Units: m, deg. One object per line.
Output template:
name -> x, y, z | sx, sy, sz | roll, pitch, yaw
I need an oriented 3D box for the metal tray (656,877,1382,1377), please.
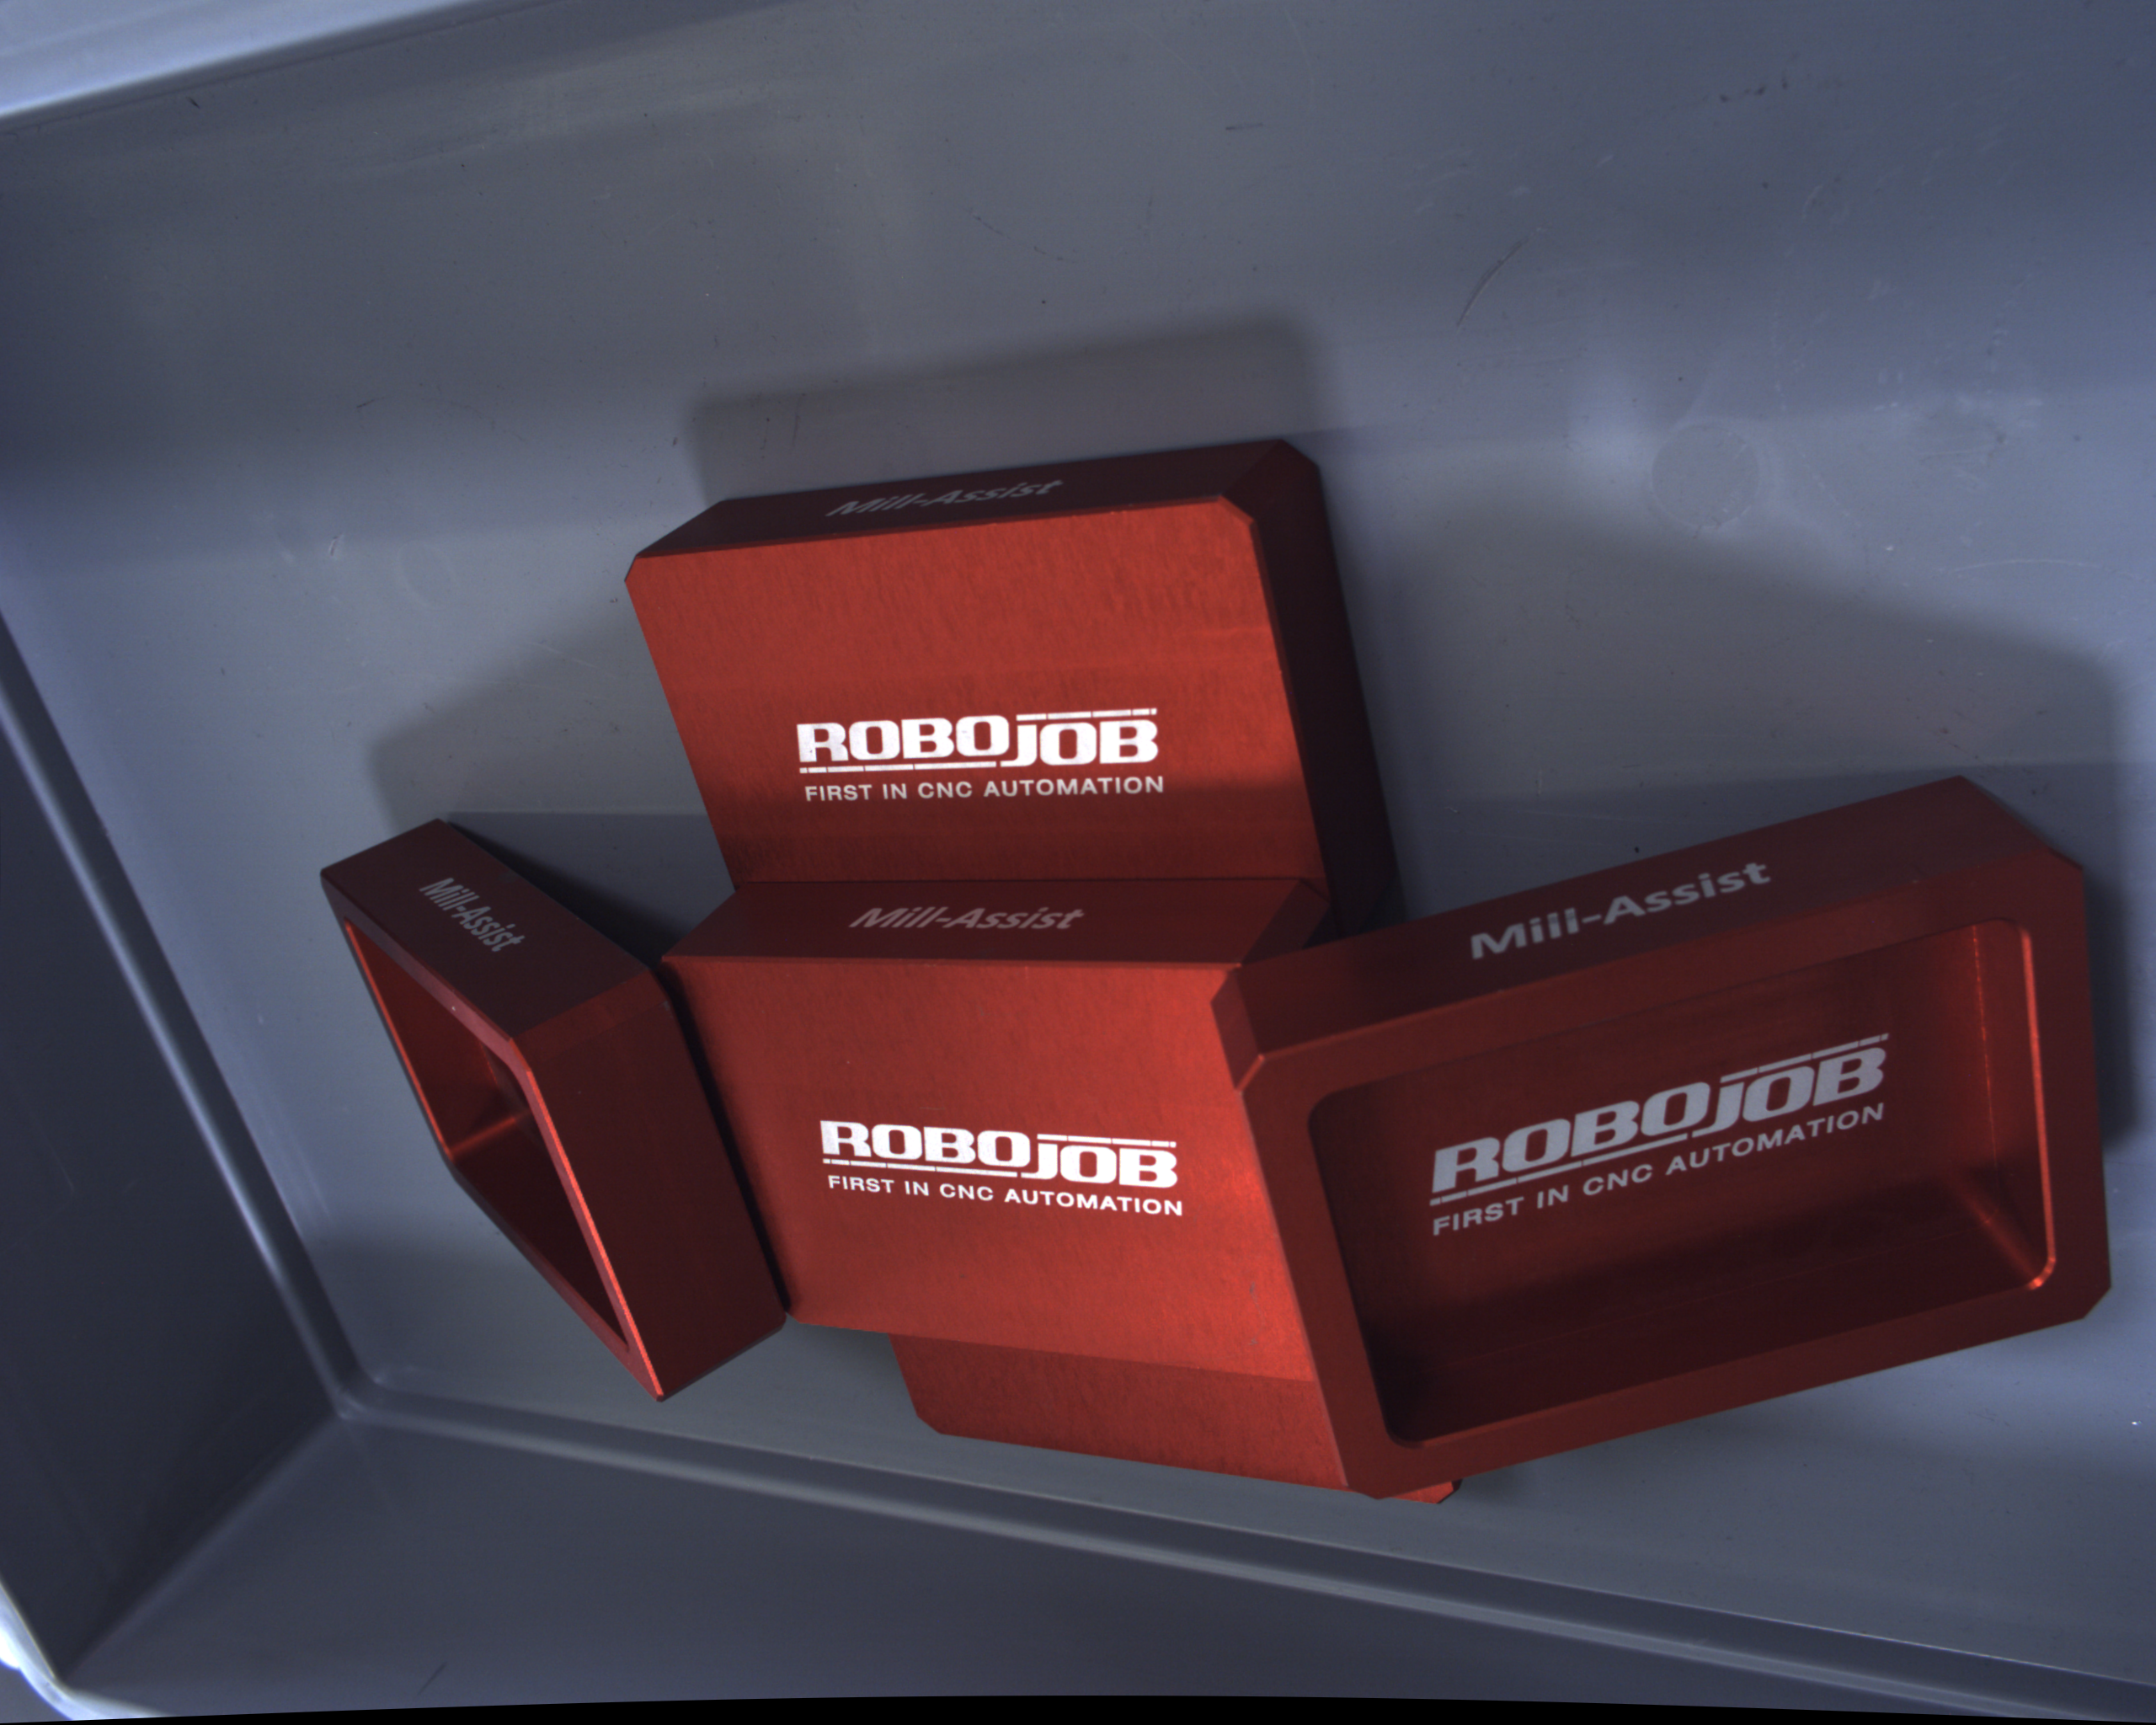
metal tray -> -0.010, 0.050, 0.400 | 0.130, 0.030, 0.089 | -1, 118, 28

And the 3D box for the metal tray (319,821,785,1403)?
metal tray -> -0.118, 0.050, 0.457 | 0.130, 0.030, 0.089 | 24, 135, 51

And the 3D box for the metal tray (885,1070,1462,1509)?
metal tray -> 0.016, 0.087, 0.447 | 0.130, 0.030, 0.089 | -1, 118, 28

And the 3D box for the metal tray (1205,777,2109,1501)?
metal tray -> 0.095, 0.047, 0.342 | 0.131, 0.030, 0.089 | -15, 115, 2

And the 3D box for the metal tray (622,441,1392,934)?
metal tray -> -0.014, -0.026, 0.393 | 0.130, 0.030, 0.089 | -1, 118, 28
